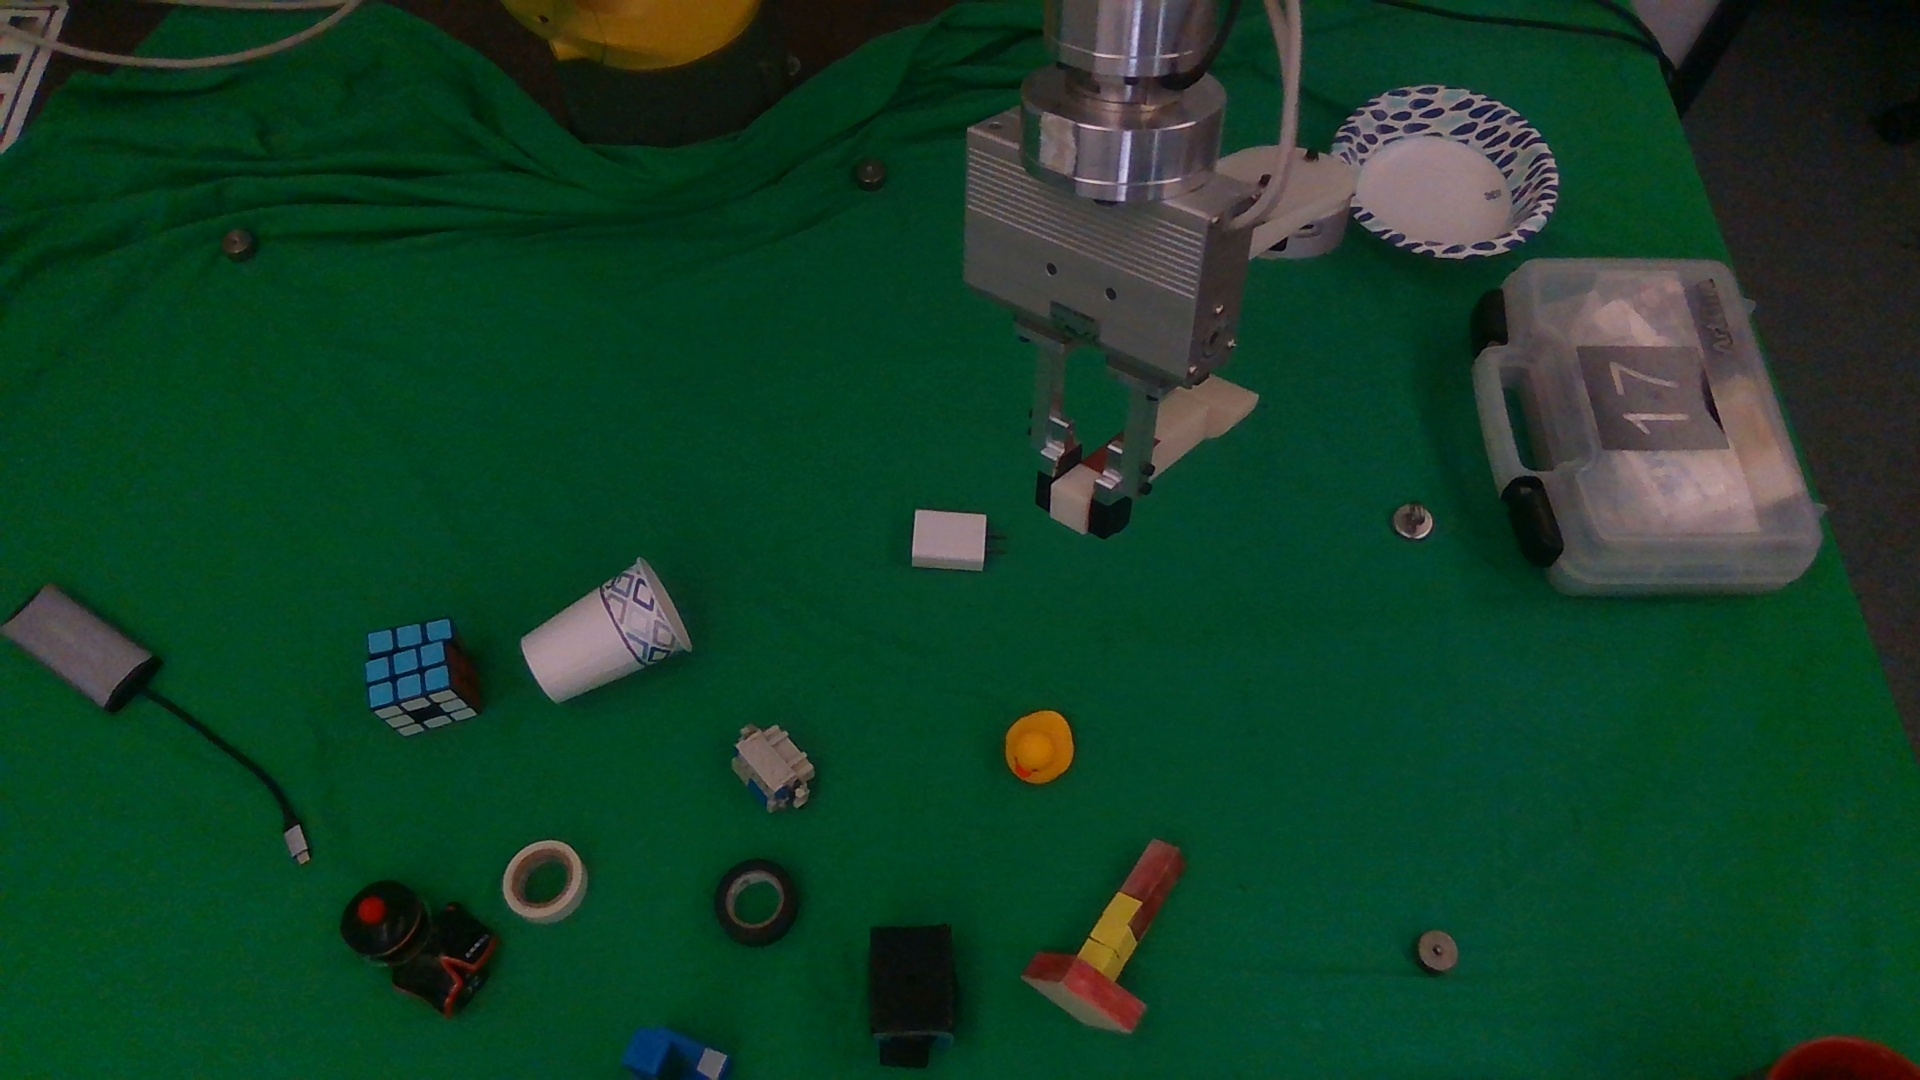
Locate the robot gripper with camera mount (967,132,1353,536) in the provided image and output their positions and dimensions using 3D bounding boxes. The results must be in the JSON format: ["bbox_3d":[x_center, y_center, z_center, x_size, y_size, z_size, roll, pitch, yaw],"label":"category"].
[{"bbox_3d":[0.107,-0.113,0.640,0.119,0.158,0.193,28,44,29],"label":"robot gripper with camera mount"}]

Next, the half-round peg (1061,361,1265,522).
[{"bbox_3d":[0.091,-0.049,0.660,0.054,0.031,0.121,29,49,31],"label":"half-round peg"}]
